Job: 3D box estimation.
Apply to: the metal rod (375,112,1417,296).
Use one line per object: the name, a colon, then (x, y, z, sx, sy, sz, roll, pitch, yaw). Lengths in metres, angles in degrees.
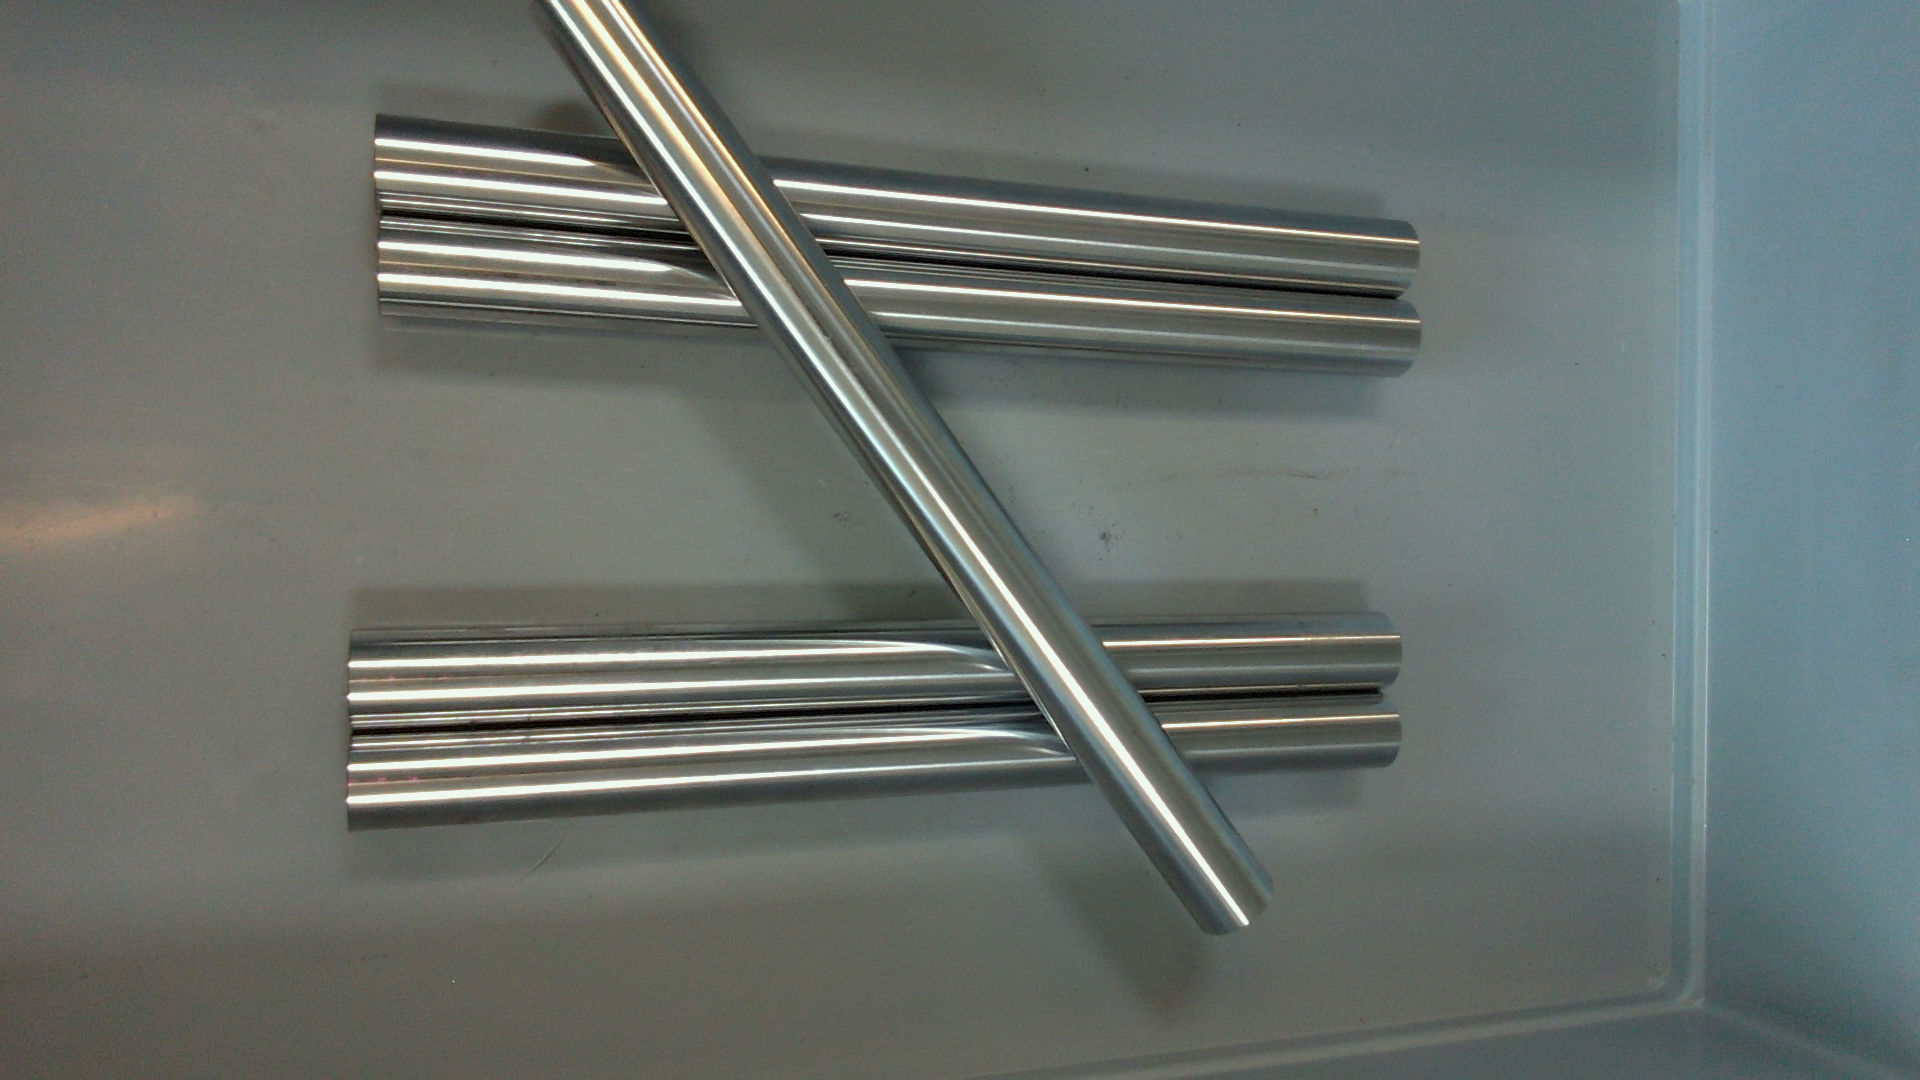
metal rod: (-0.002, -0.091, 0.391, 0.301, 0.025, 0.025, 1, 90, -20)

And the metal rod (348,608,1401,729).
metal rod: (-0.008, 0.034, 0.389, 0.301, 0.025, 0.025, 0, 90, -20)

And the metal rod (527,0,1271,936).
metal rod: (-0.008, -0.014, 0.363, 0.025, 0.025, 0.300, -39, 103, -16)

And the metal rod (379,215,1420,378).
metal rod: (-0.001, -0.066, 0.391, 0.301, 0.025, 0.025, 1, 90, -20)

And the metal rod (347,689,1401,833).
metal rod: (-0.008, 0.059, 0.389, 0.301, 0.025, 0.025, 0, 90, -20)
